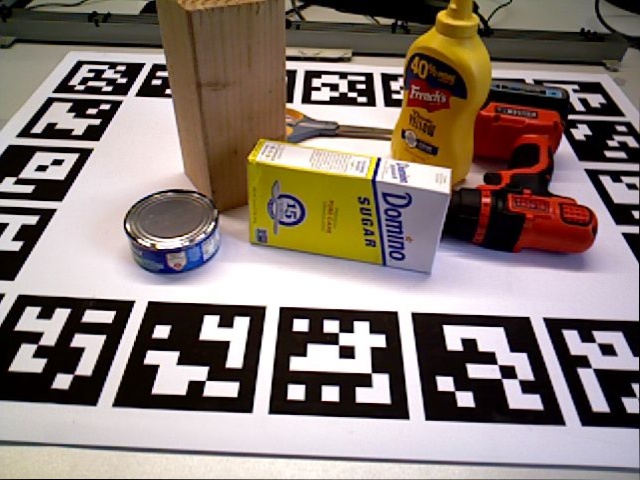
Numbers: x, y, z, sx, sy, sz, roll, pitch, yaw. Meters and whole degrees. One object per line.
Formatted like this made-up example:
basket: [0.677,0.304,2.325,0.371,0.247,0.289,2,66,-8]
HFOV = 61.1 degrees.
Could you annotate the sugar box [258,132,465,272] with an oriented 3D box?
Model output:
sugar box: [0.033,-0.032,0.489,0.176,0.095,0.044,12,43,7]

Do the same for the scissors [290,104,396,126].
scissors: [-0.010,-0.148,0.652,0.202,0.016,0.086,4,41,2]

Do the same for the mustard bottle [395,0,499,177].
mustard bottle: [0.131,-0.156,0.553,0.057,0.196,0.096,-30,55,-28]

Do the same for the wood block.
wood block: [-0.087,-0.142,0.523,0.089,0.211,0.089,-19,50,-21]

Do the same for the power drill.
power drill: [0.175,-0.076,0.560,0.184,0.058,0.183,11,53,9]

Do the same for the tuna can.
tuna can: [-0.133,-0.016,0.501,0.085,0.034,0.084,1,46,-2]
